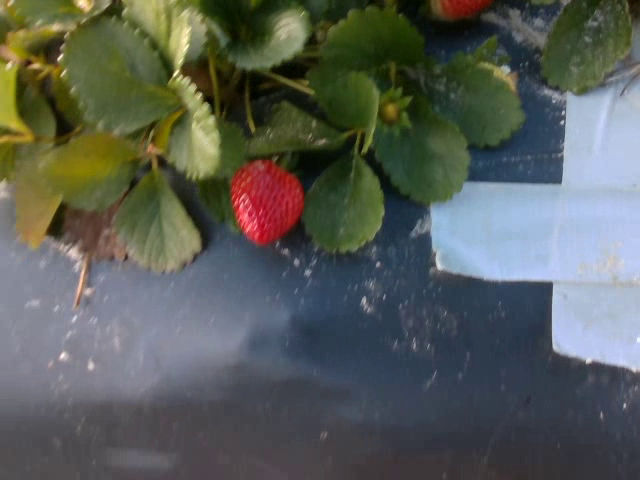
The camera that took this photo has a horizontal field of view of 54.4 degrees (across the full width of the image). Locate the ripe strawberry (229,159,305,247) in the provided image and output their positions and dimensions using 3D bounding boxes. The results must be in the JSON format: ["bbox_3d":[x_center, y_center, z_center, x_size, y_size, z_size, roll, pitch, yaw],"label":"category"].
[{"bbox_3d":[-0.013,-0.008,0.140,0.018,0.023,0.021,-8,-34,23],"label":"ripe strawberry"}]
